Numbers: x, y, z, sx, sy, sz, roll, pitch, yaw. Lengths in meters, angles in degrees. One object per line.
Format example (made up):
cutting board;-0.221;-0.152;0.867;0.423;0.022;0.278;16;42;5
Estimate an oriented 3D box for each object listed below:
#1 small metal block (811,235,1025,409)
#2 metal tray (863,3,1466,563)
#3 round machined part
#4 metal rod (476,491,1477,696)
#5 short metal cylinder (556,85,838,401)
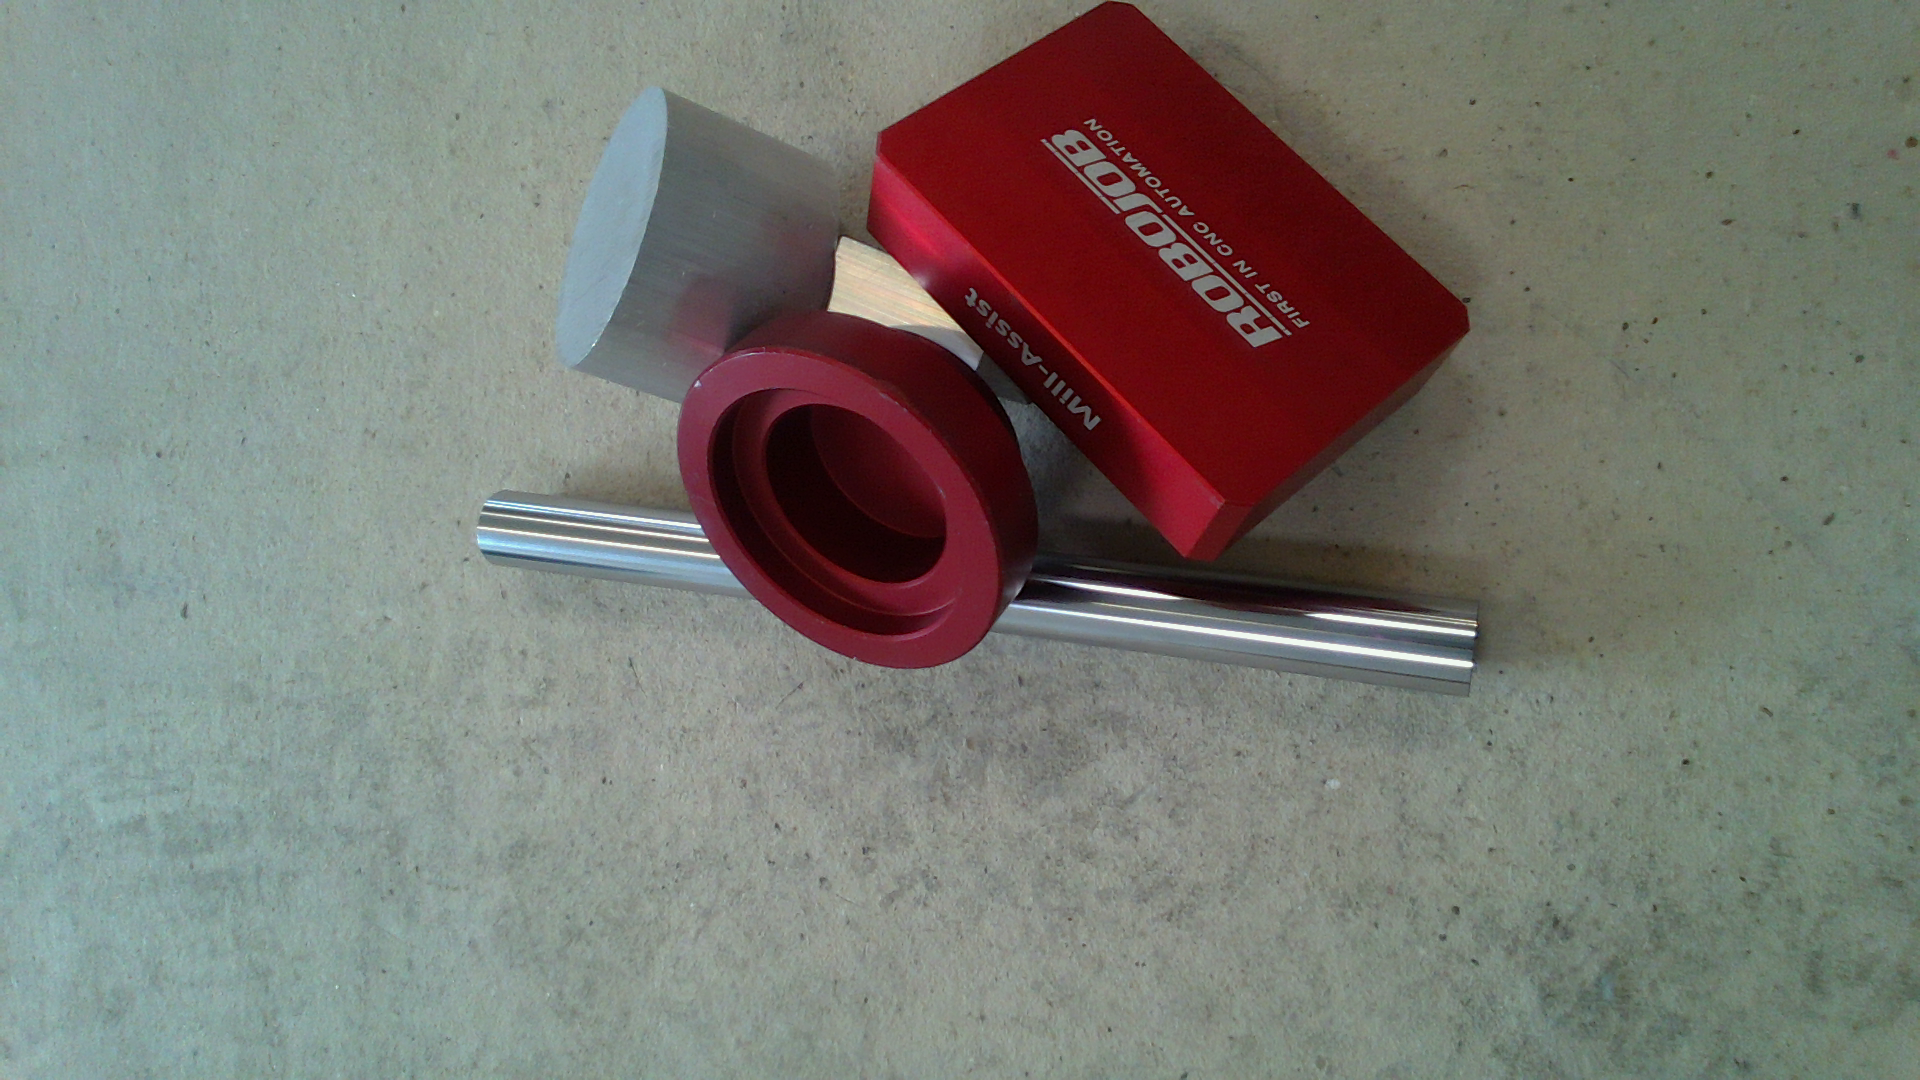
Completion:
small metal block;-0.007;-0.060;0.383;0.050;0.050;0.025;25;98;18
metal tray;0.050;-0.069;0.348;0.090;0.030;0.130;-37;75;-23
round machined part;-0.023;-0.017;0.362;0.098;0.042;0.098;19;133;22
metal rod;-0.010;0.011;0.400;0.299;0.025;0.025;6;92;20
short metal cylinder;-0.076;-0.080;0.389;0.080;0.050;0.080;-34;48;48
